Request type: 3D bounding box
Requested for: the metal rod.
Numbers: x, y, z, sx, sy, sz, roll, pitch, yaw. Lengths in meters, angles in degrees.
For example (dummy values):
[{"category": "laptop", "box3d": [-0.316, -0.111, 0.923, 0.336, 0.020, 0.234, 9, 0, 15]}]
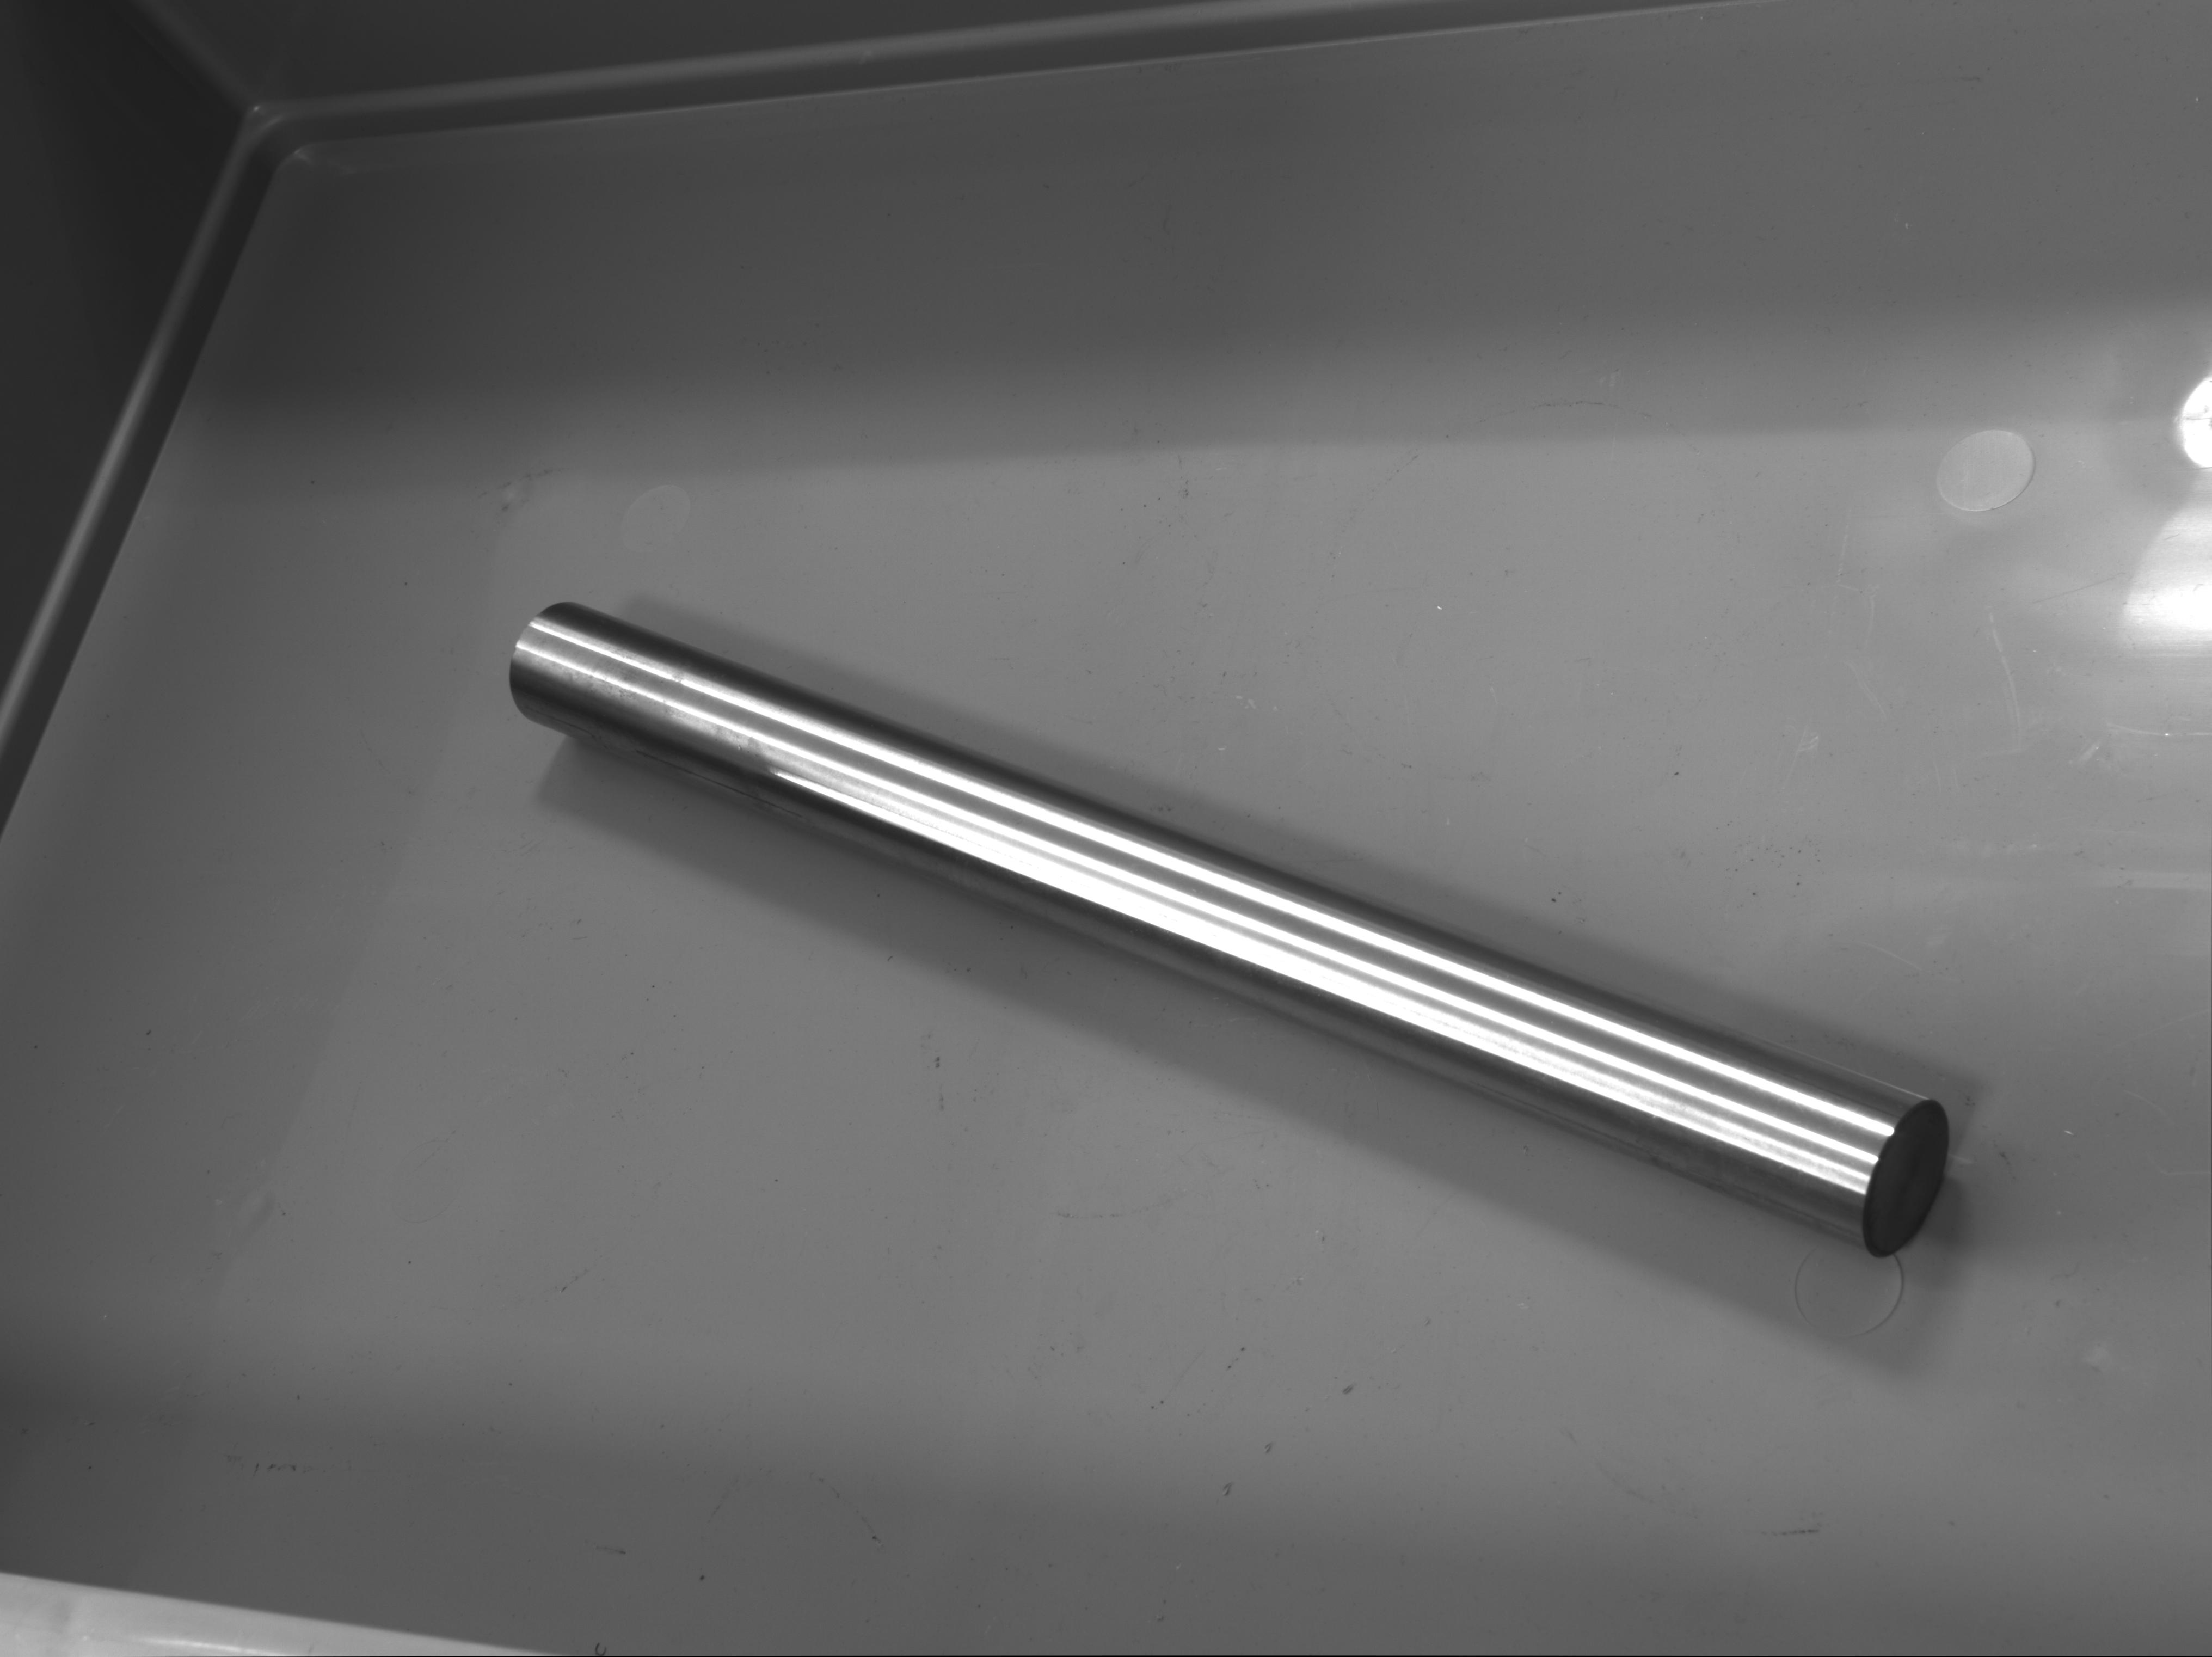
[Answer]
[{"category": "metal rod", "box3d": [0.005, 0.010, 0.635, 0.299, 0.025, 0.025, 20, 73, 36]}]
